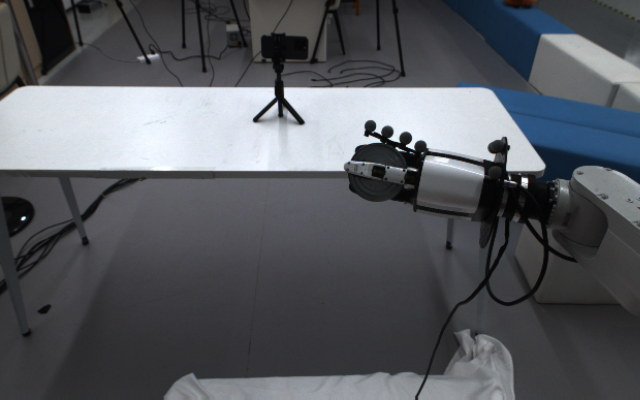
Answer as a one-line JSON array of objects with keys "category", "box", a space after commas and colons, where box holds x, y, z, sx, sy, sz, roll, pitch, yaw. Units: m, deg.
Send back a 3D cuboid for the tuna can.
[{"category": "tuna can", "box": [0.088, -0.042, 0.712, 0.085, 0.085, 0.034, 13, 3, 16]}]
